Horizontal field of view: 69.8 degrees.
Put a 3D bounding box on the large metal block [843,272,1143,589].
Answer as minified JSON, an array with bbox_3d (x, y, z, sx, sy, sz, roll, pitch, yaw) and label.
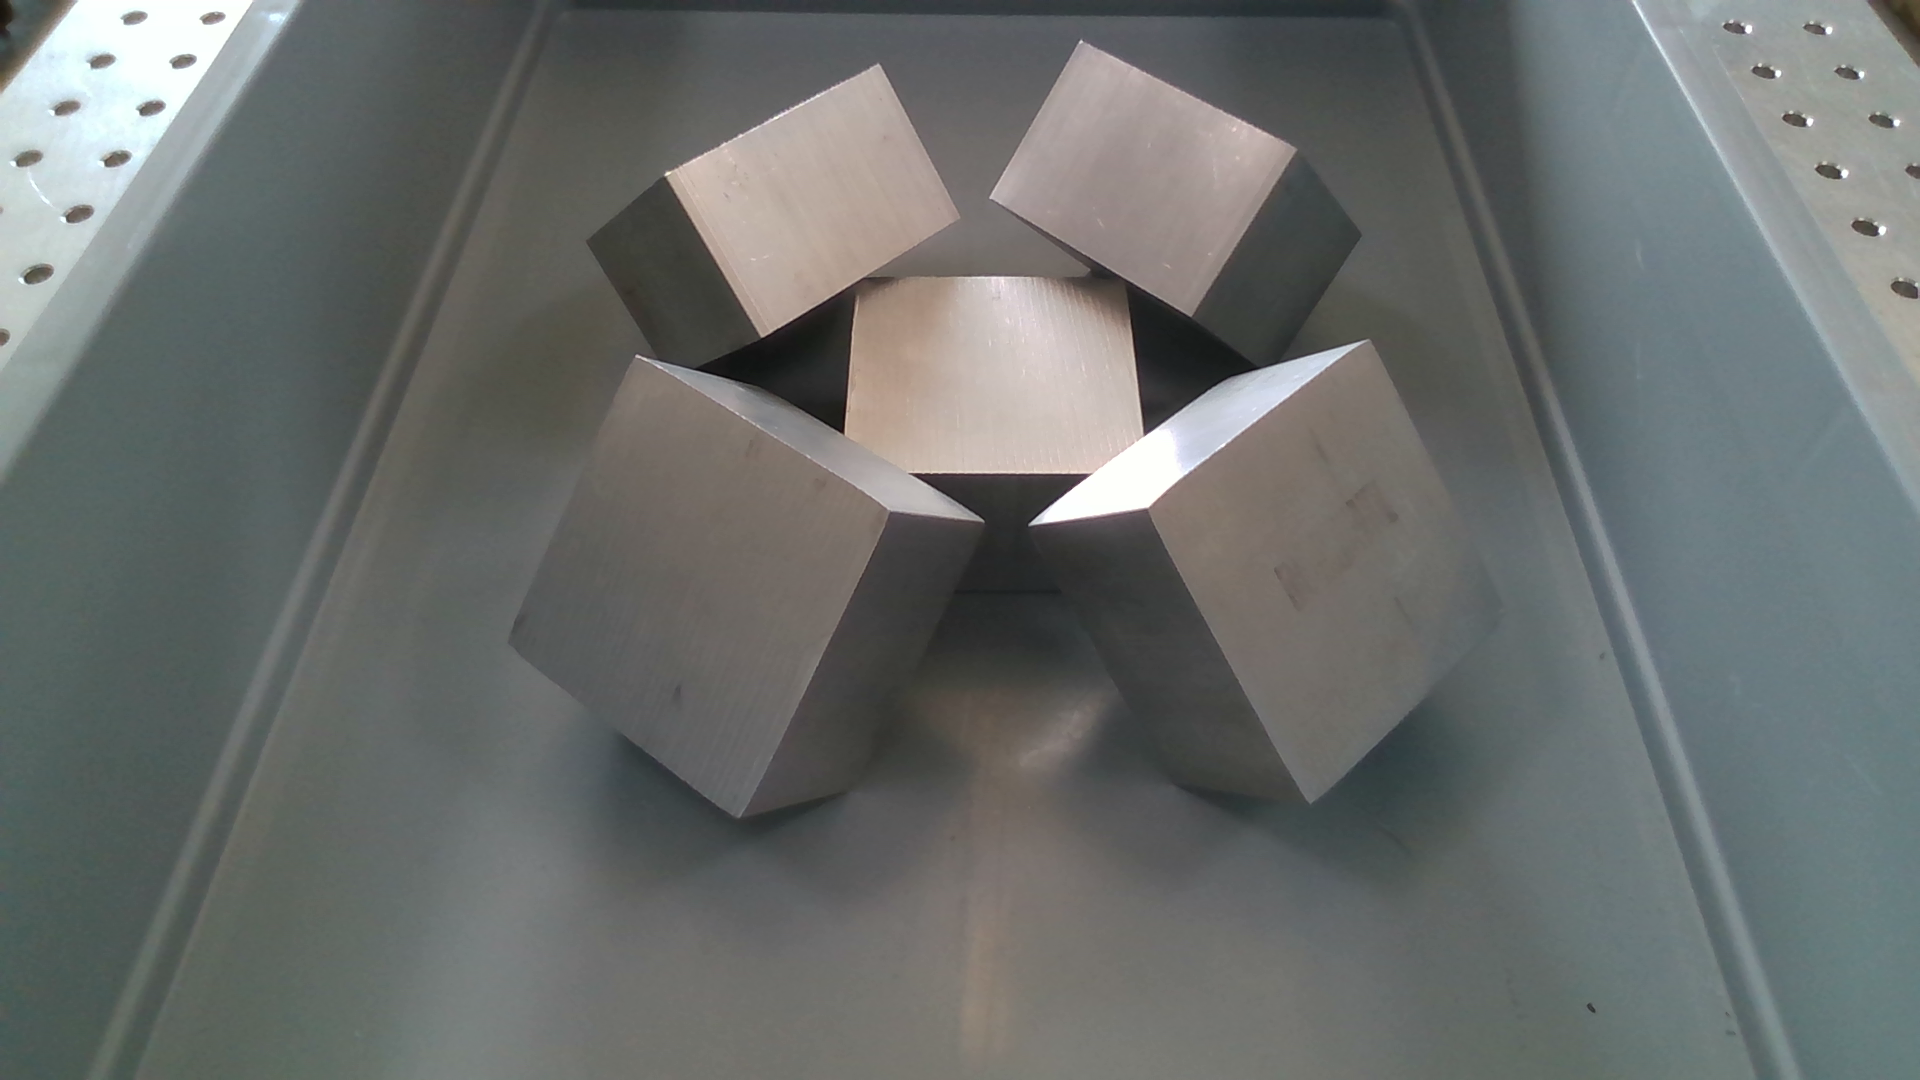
[{"bbox_3d":[0.009,-0.033,0.402,0.080,0.050,0.080,0,50,0],"label":"large metal block"}]

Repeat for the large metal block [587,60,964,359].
[{"bbox_3d":[-0.060,-0.098,0.431,0.080,0.050,0.080,-37,15,-26],"label":"large metal block"}]

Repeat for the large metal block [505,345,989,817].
[{"bbox_3d":[-0.053,0.009,0.340,0.080,0.050,0.080,31,102,23],"label":"large metal block"}]

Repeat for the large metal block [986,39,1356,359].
[{"bbox_3d":[0.068,-0.103,0.431,0.080,0.080,0.050,37,102,26],"label":"large metal block"}]

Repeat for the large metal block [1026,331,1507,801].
[{"bbox_3d":[0.077,0.007,0.343,0.080,0.050,0.080,-36,102,-27],"label":"large metal block"}]
